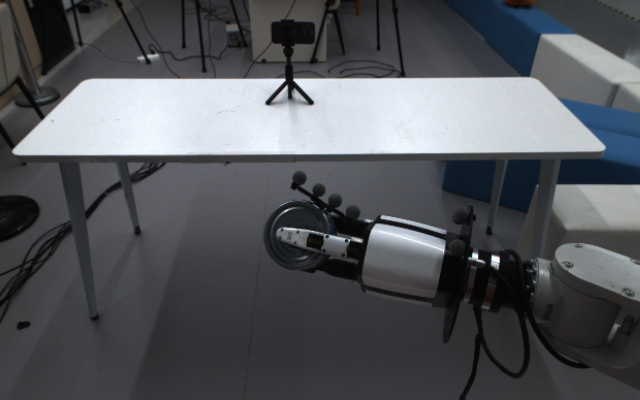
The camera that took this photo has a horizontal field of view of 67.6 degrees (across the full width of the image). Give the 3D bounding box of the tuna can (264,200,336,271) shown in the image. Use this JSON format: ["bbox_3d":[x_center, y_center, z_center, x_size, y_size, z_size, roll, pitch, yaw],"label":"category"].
[{"bbox_3d":[-0.020,0.049,0.585,0.085,0.085,0.034,13,-5,15],"label":"tuna can"}]
